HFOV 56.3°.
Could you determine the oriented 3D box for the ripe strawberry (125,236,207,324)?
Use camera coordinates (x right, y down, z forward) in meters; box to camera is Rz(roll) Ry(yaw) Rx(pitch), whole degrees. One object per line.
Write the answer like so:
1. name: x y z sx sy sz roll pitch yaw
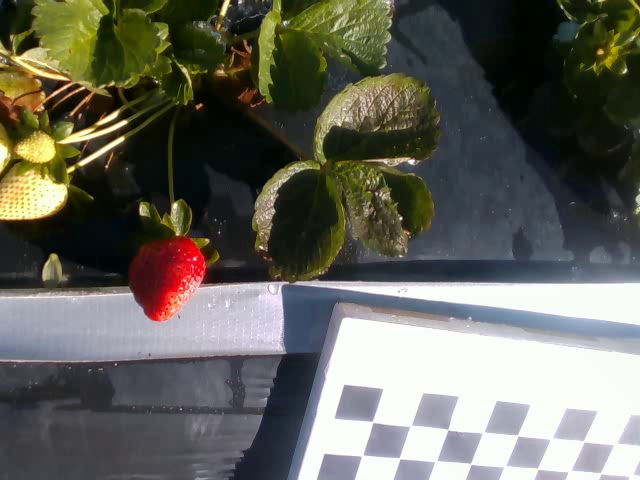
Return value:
1. ripe strawberry: -0.064 0.019 0.239 0.036 0.038 0.045 8 35 -10
